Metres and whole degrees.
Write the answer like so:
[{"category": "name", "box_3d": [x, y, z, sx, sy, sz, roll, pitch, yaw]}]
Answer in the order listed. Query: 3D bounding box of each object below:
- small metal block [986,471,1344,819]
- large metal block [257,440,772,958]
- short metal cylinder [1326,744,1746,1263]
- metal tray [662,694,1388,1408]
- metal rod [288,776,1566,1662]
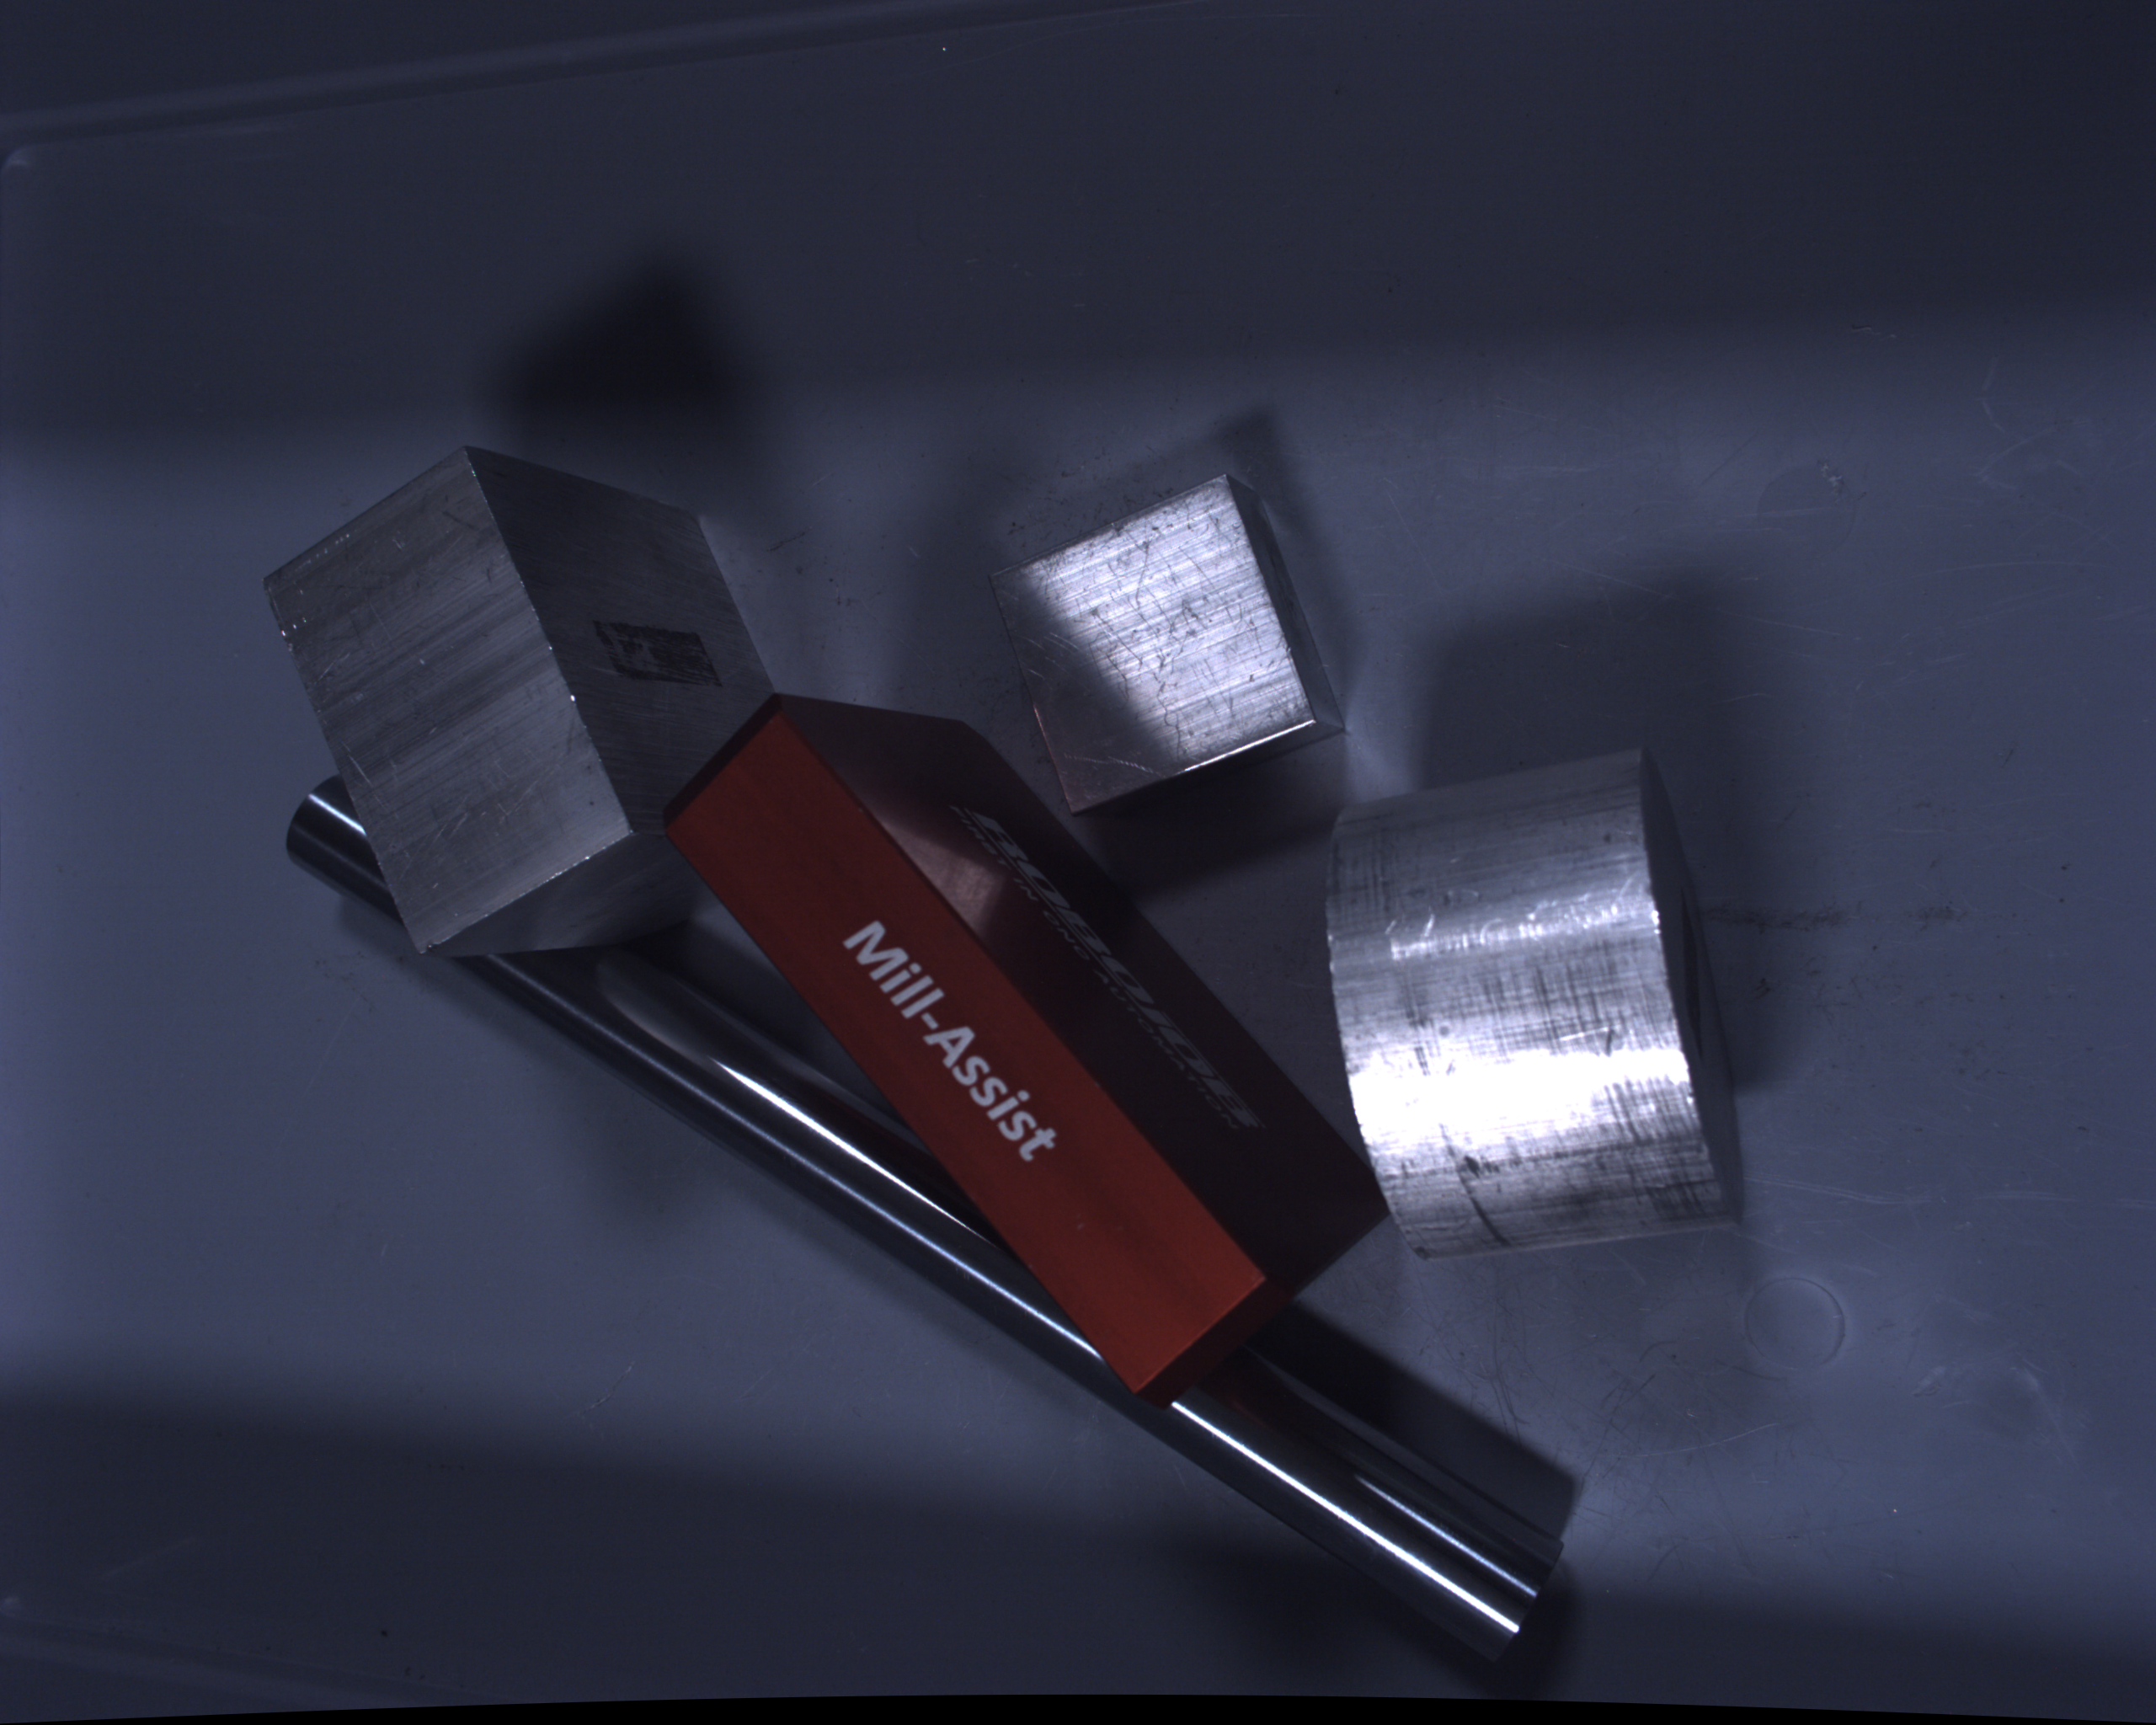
[{"category": "small metal block", "box_3d": [0.017, -0.040, 0.401, 0.050, 0.025, 0.050, -21, 83, 18]}, {"category": "large metal block", "box_3d": [-0.102, -0.030, 0.414, 0.050, 0.080, 0.080, -28, 81, 18]}, {"category": "short metal cylinder", "box_3d": [0.078, 0.024, 0.351, 0.050, 0.080, 0.080, -12, 86, 20]}, {"category": "metal tray", "box_3d": [-0.006, 0.029, 0.375, 0.030, 0.090, 0.130, -45, 77, 14]}, {"category": "metal rod", "box_3d": [-0.042, 0.062, 0.423, 0.301, 0.025, 0.025, 30, 100, 17]}]
